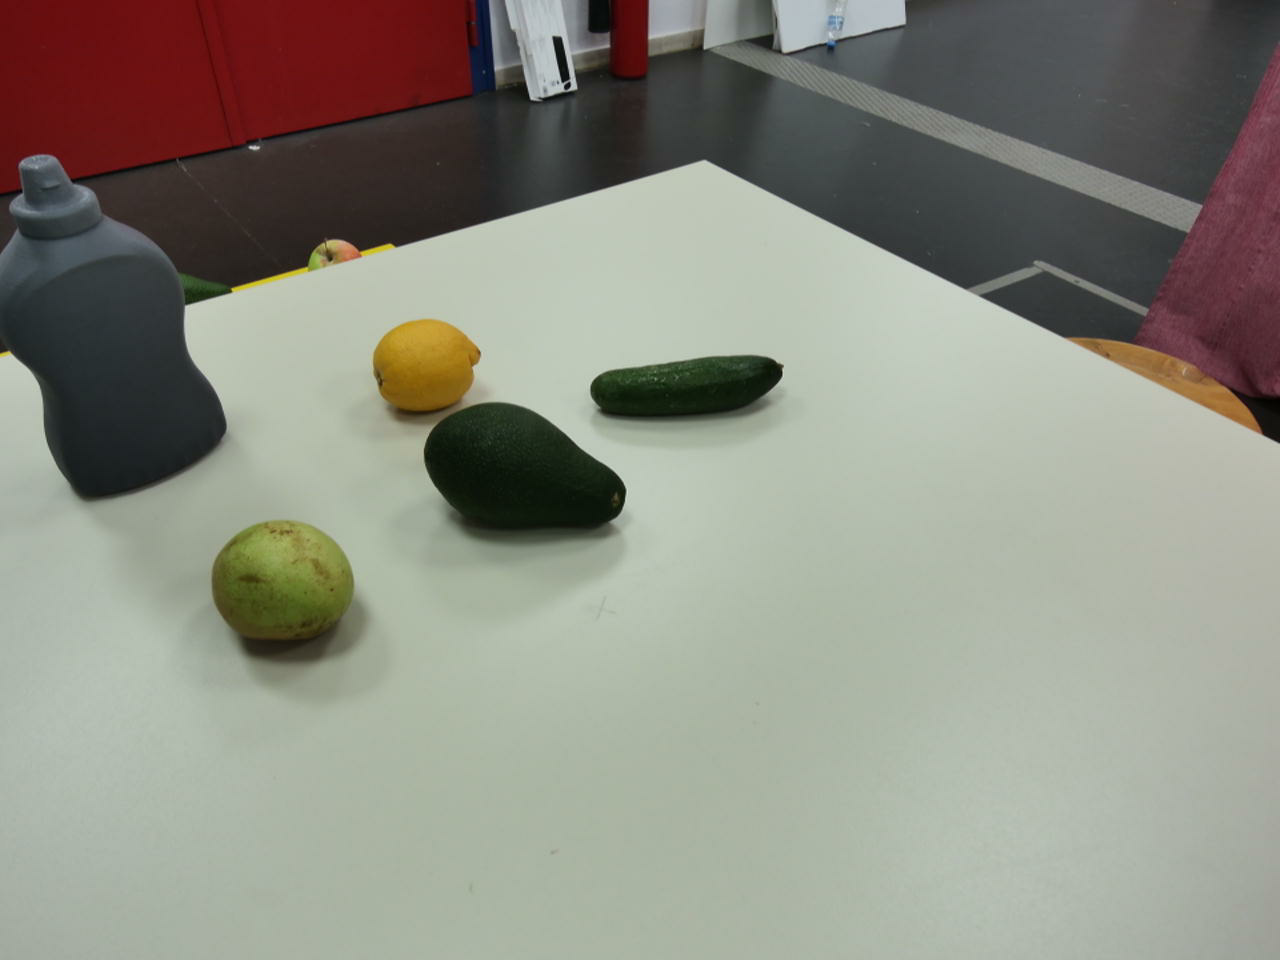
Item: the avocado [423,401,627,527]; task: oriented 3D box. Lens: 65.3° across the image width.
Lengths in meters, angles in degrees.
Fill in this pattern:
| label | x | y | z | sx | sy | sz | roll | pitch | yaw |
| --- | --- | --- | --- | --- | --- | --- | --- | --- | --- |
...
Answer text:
| label | x | y | z | sx | sy | sz | roll | pitch | yaw |
| --- | --- | --- | --- | --- | --- | --- | --- | --- | --- |
| avocado | -0.067 | -0.005 | 0.566 | 0.110 | 0.071 | 0.072 | 21 | 42 | 23 |
